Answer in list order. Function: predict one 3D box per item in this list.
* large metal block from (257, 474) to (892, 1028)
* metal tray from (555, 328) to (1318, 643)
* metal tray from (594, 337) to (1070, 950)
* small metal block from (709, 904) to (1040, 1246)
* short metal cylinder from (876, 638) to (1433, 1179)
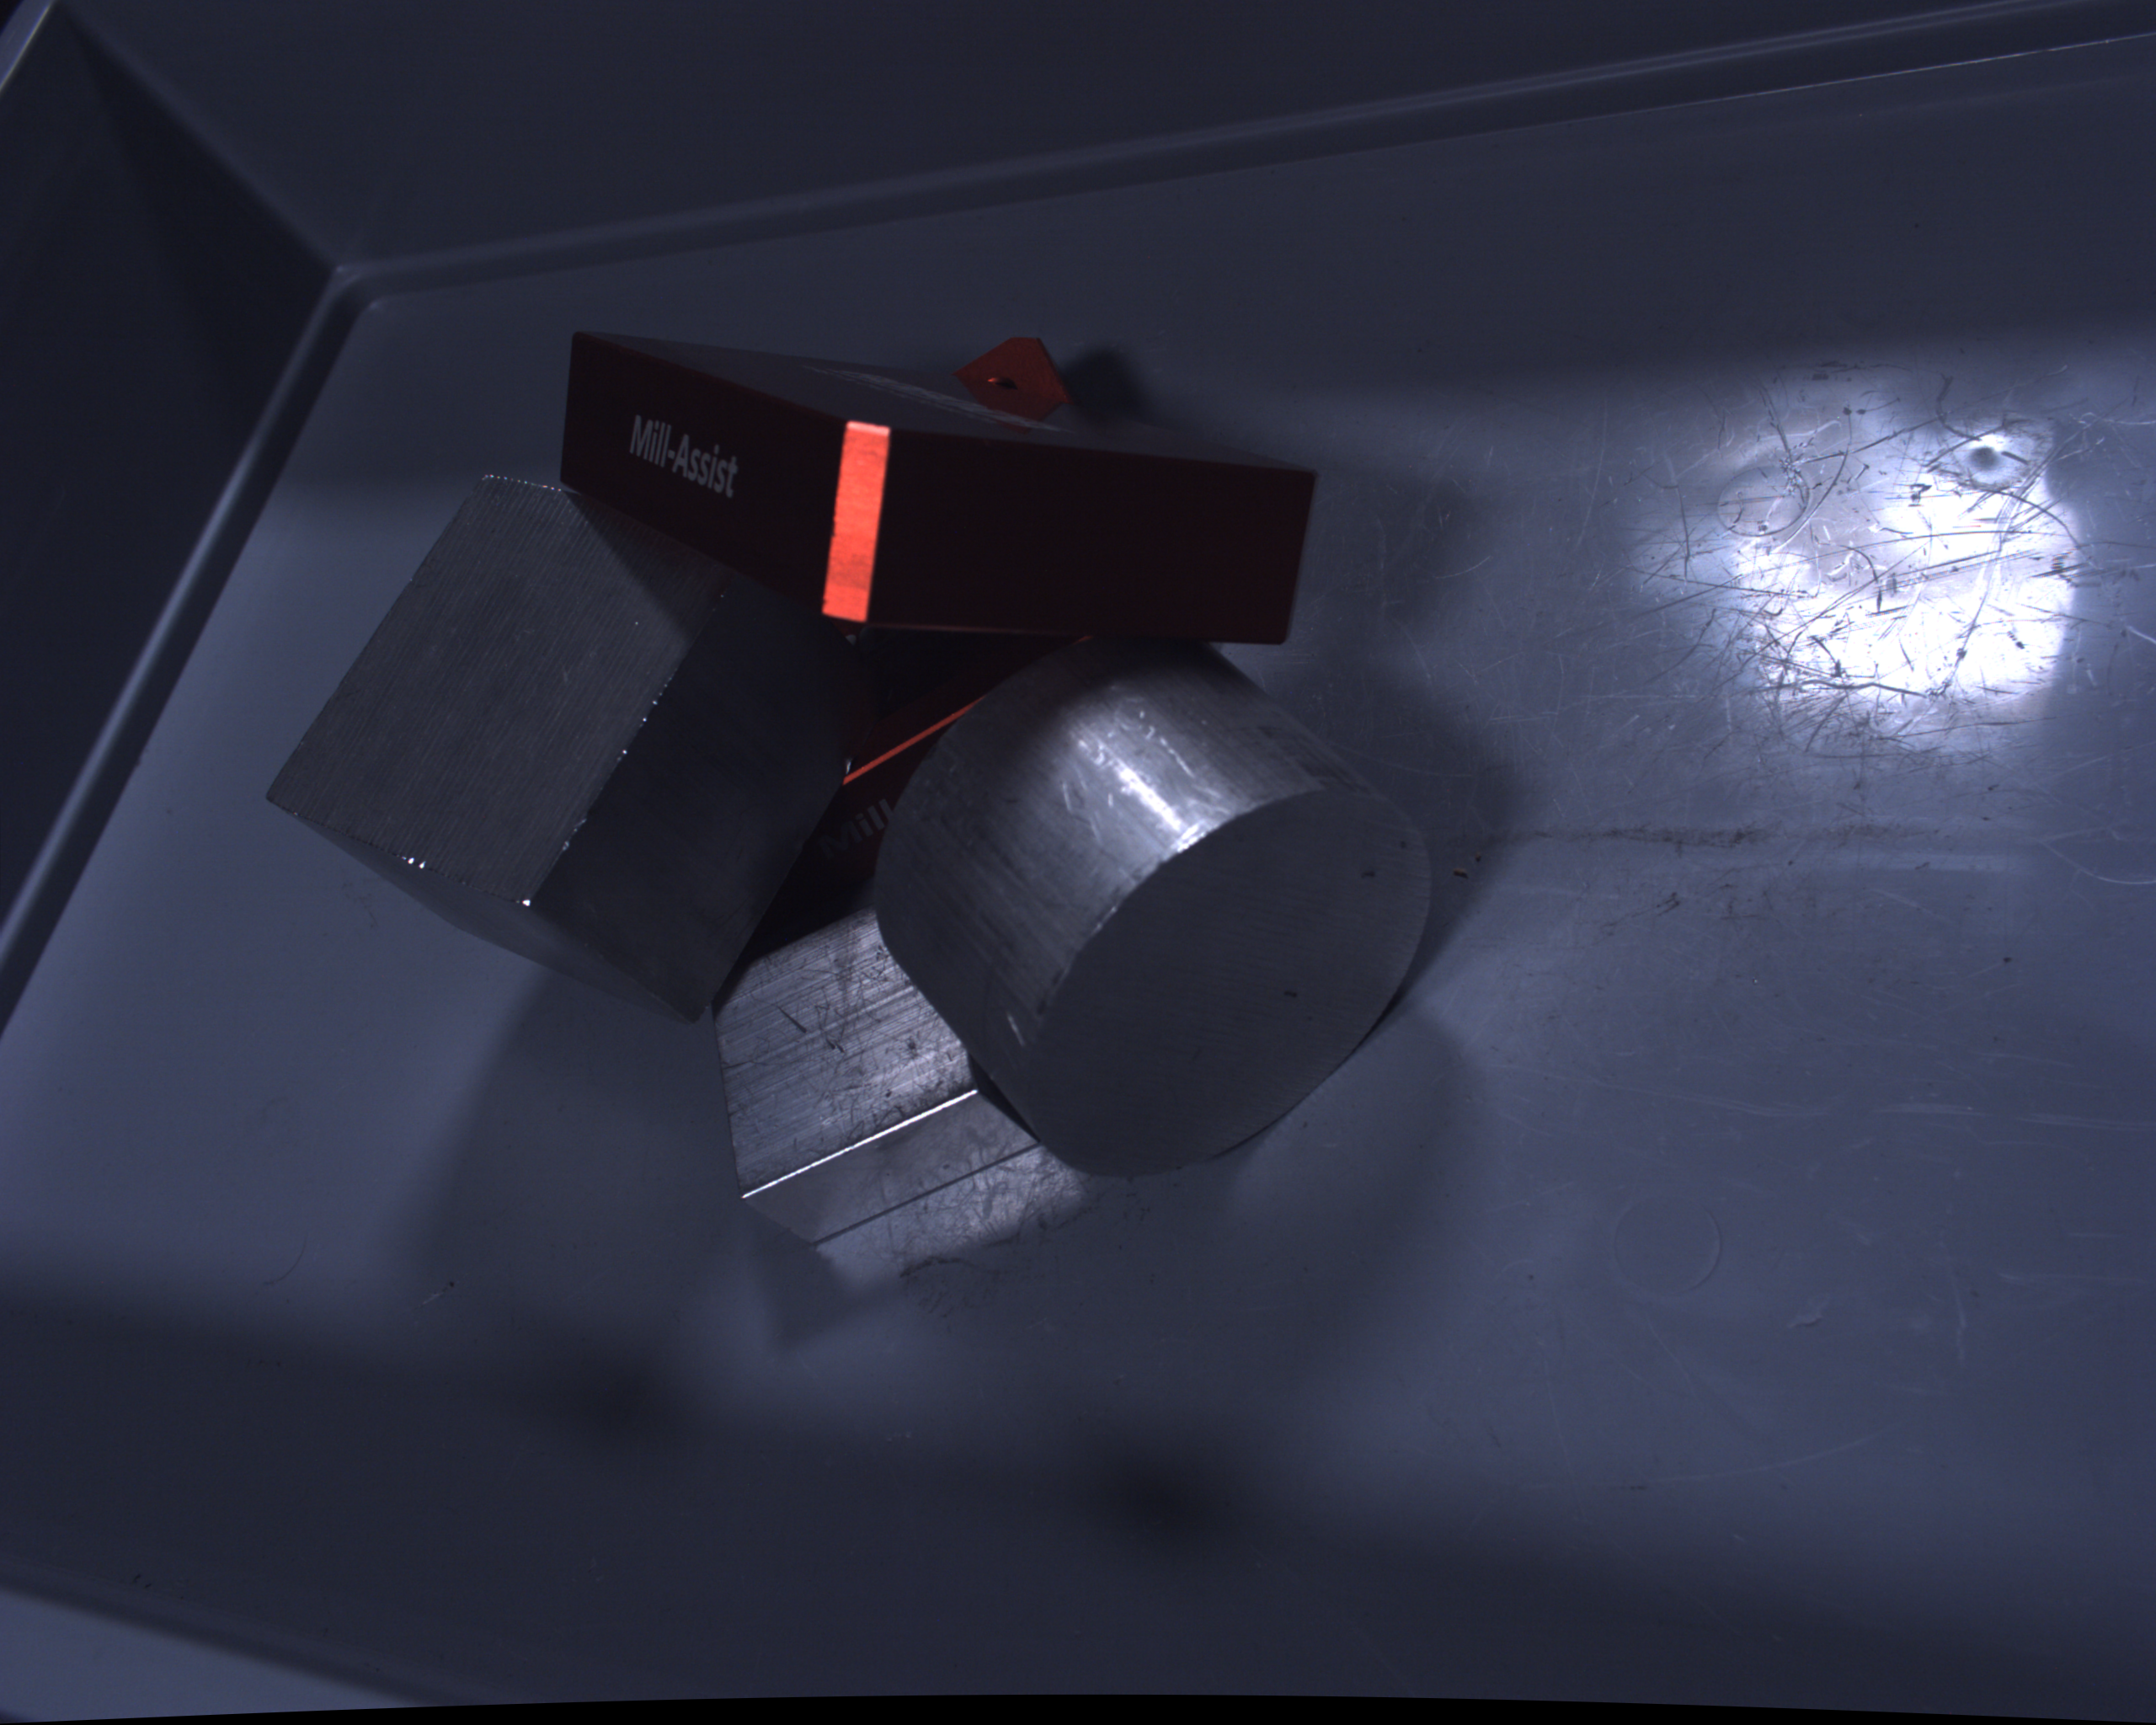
[{"bbox_3d":[-0.098,-0.024,0.411,0.080,0.050,0.080,18,71,34],"label":"large metal block"},{"bbox_3d":[-0.031,-0.071,0.383,0.130,0.091,0.030,31,117,52],"label":"metal tray"},{"bbox_3d":[-0.046,-0.047,0.451,0.130,0.030,0.090,-30,52,8],"label":"metal tray"},{"bbox_3d":[-0.040,0.038,0.400,0.050,0.025,0.050,-26,53,12],"label":"small metal block"},{"bbox_3d":[0.013,0.007,0.357,0.080,0.080,0.050,-43,51,-2],"label":"short metal cylinder"}]
